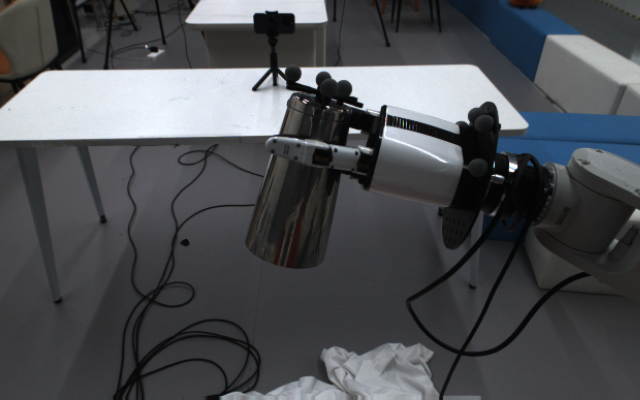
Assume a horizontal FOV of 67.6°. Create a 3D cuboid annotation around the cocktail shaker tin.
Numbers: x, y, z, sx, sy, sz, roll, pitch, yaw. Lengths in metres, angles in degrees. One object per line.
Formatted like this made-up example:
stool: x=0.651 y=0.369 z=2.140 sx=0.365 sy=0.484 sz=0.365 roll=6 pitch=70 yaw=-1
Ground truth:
cocktail shaker tin: x=-0.016 y=-0.025 z=0.525 sx=0.093 sy=0.170 sz=0.093 roll=14 pitch=18 yaw=-5
